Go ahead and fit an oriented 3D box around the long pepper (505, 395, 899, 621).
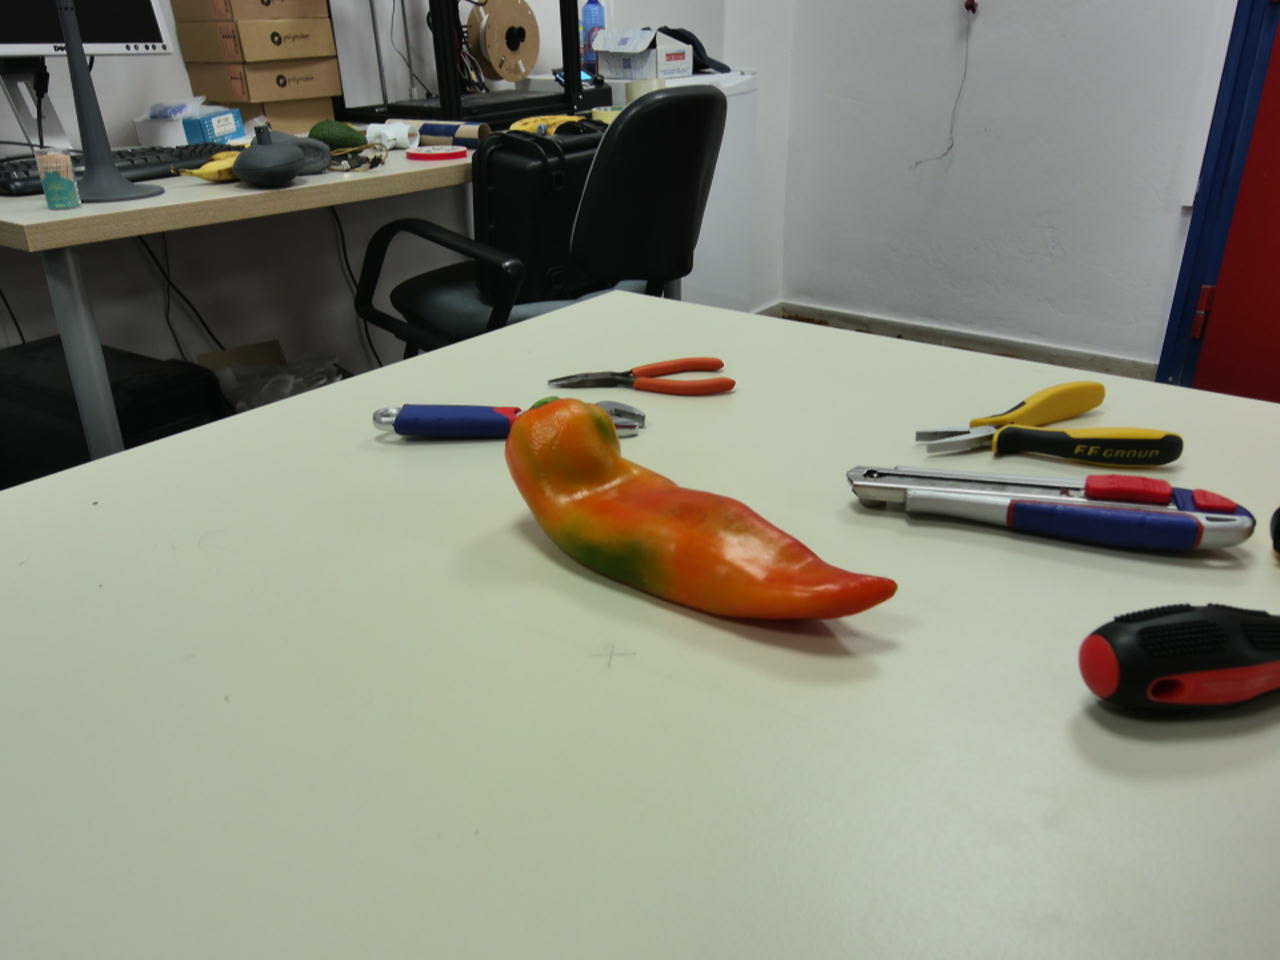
[{"bbox_3d":[0.017,0.012,0.430,0.199,0.065,0.066,20,30,40],"label":"long pepper"}]
